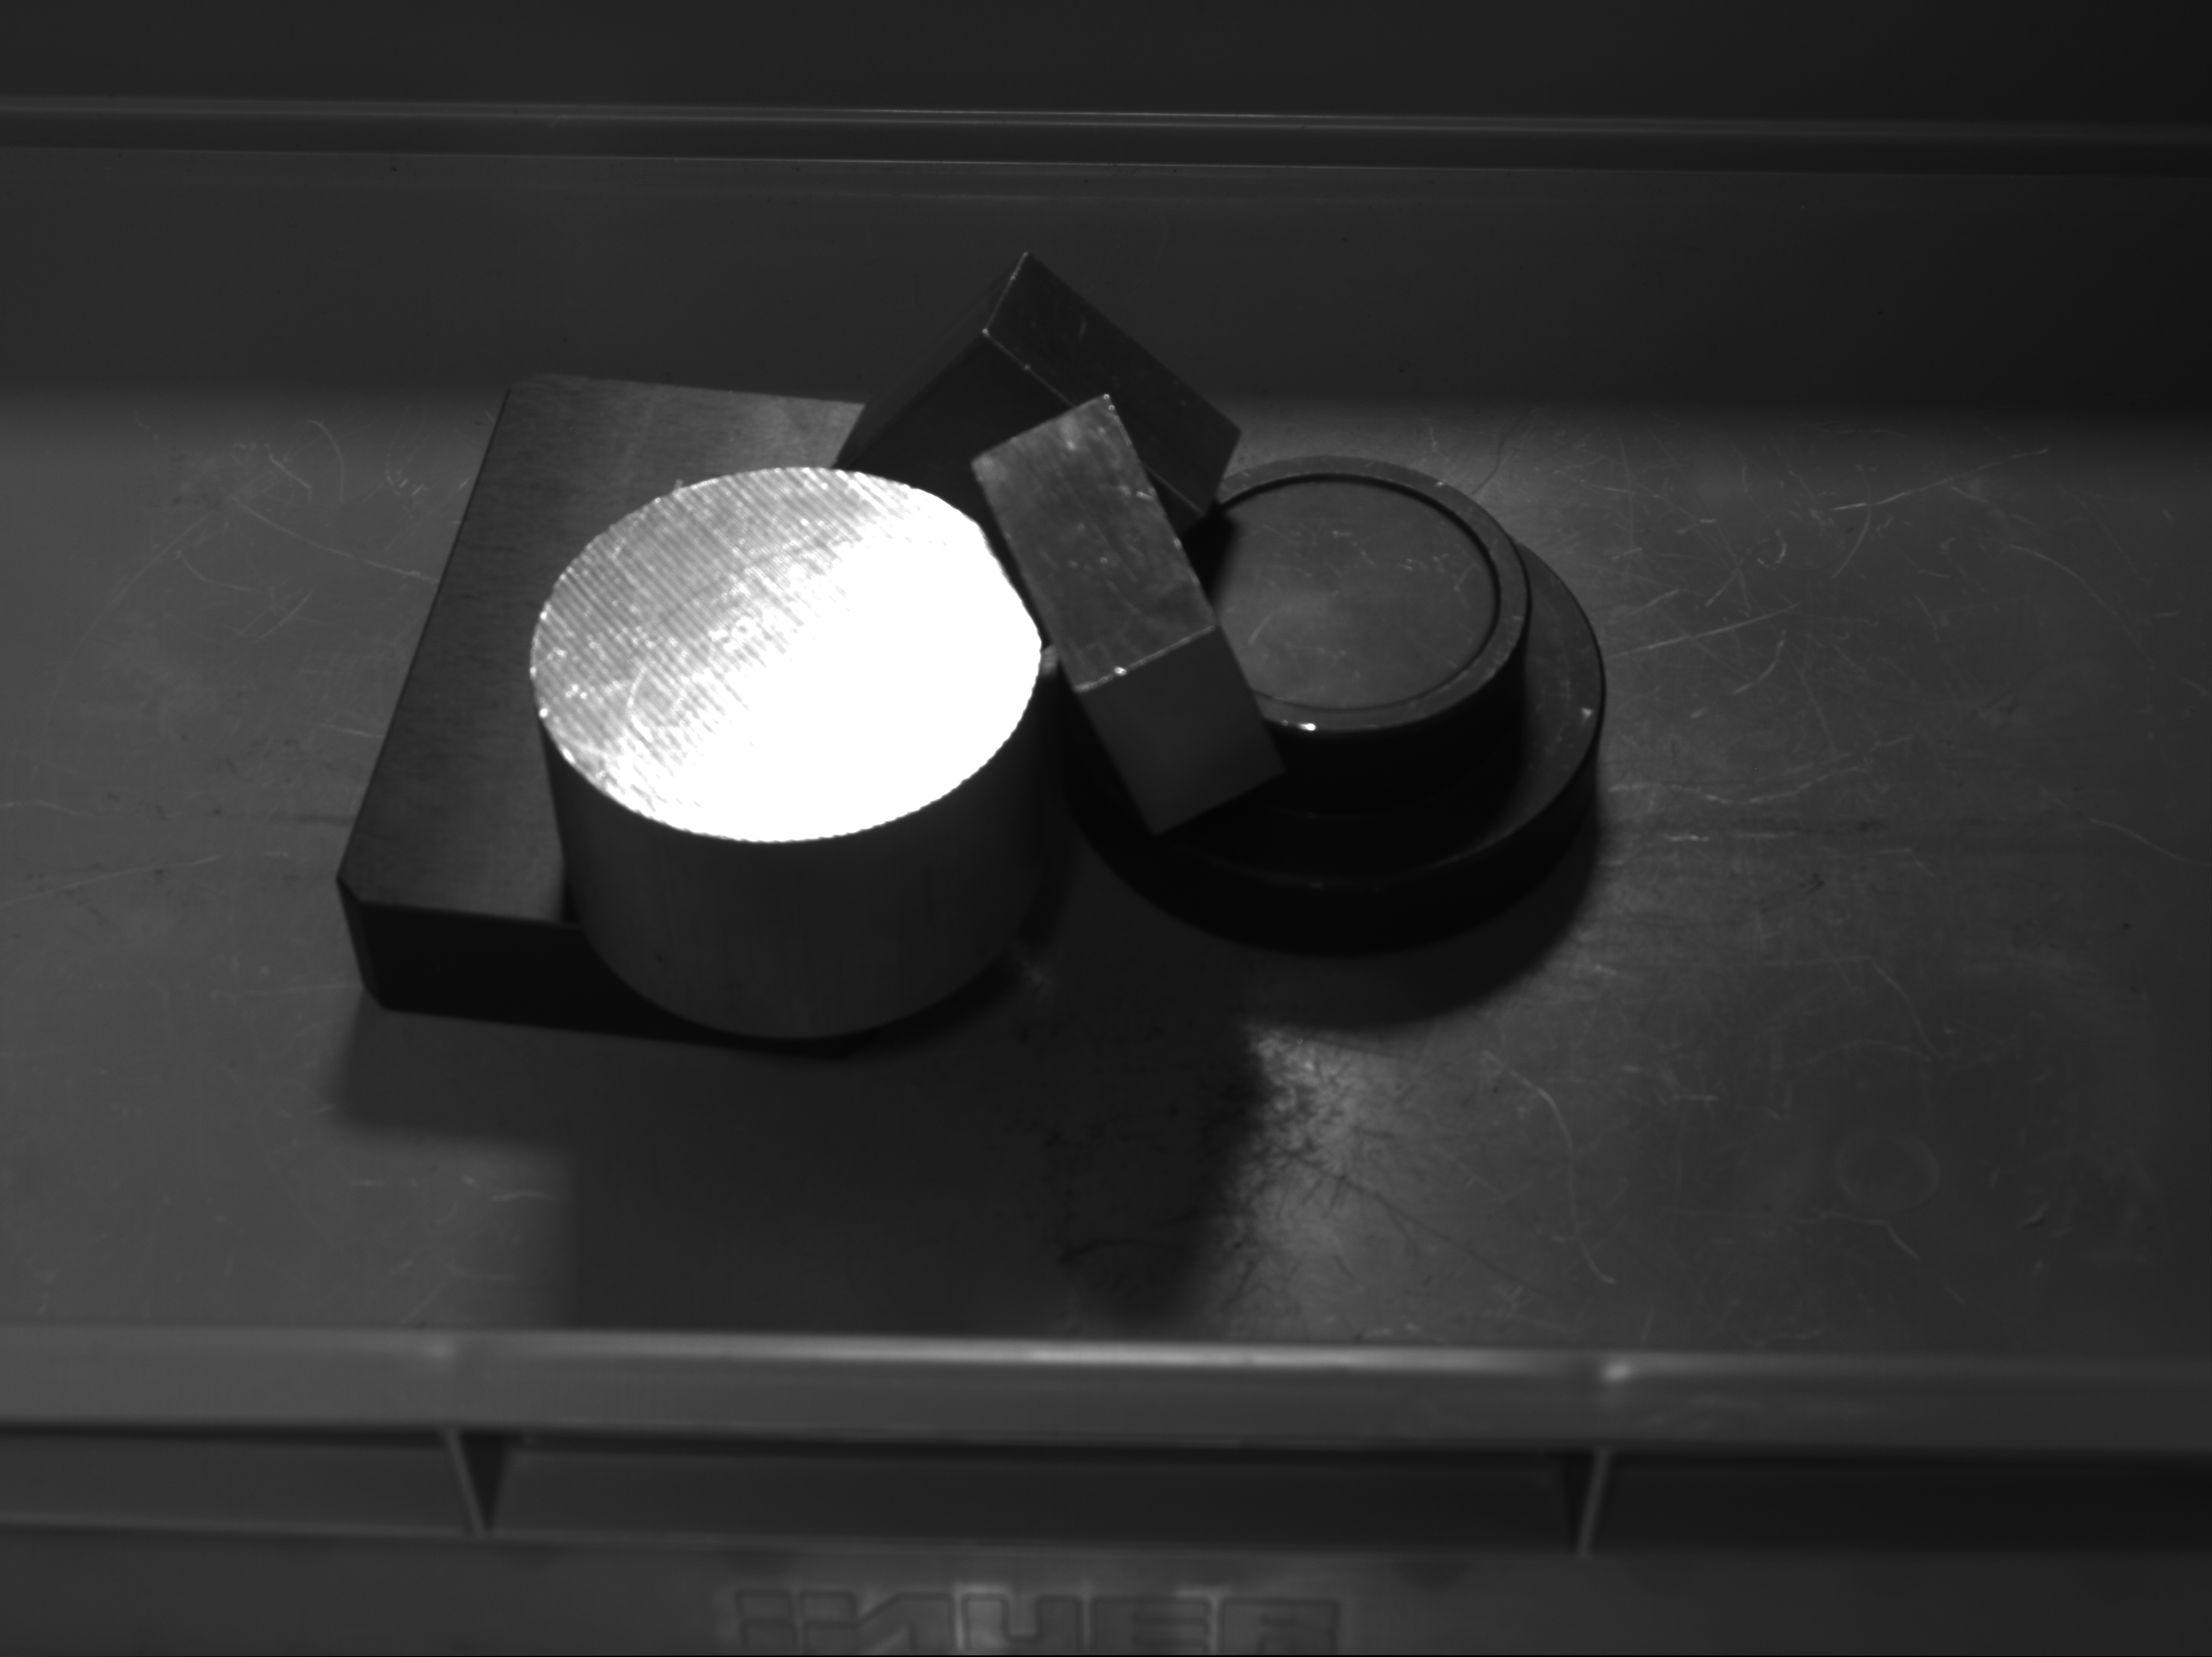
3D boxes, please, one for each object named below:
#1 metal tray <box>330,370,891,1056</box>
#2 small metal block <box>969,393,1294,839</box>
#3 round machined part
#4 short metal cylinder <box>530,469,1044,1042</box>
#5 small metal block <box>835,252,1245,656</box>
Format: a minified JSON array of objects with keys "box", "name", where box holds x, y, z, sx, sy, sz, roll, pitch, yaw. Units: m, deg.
[{"box":[-0.076,-0.024,0.655,0.090,0.030,0.130,6,50,5],"name":"metal tray"},{"box":[0.005,-0.034,0.602,0.025,0.050,0.050,-26,59,3],"name":"small metal block"},{"box":[0.041,-0.028,0.653,0.098,0.042,0.098,0,50,0],"name":"round machined part"},{"box":[-0.050,-0.012,0.595,0.080,0.050,0.080,0,50,0],"name":"short metal cylinder"},{"box":[-0.013,-0.065,0.646,0.050,0.050,0.025,38,44,-16],"name":"small metal block"}]
